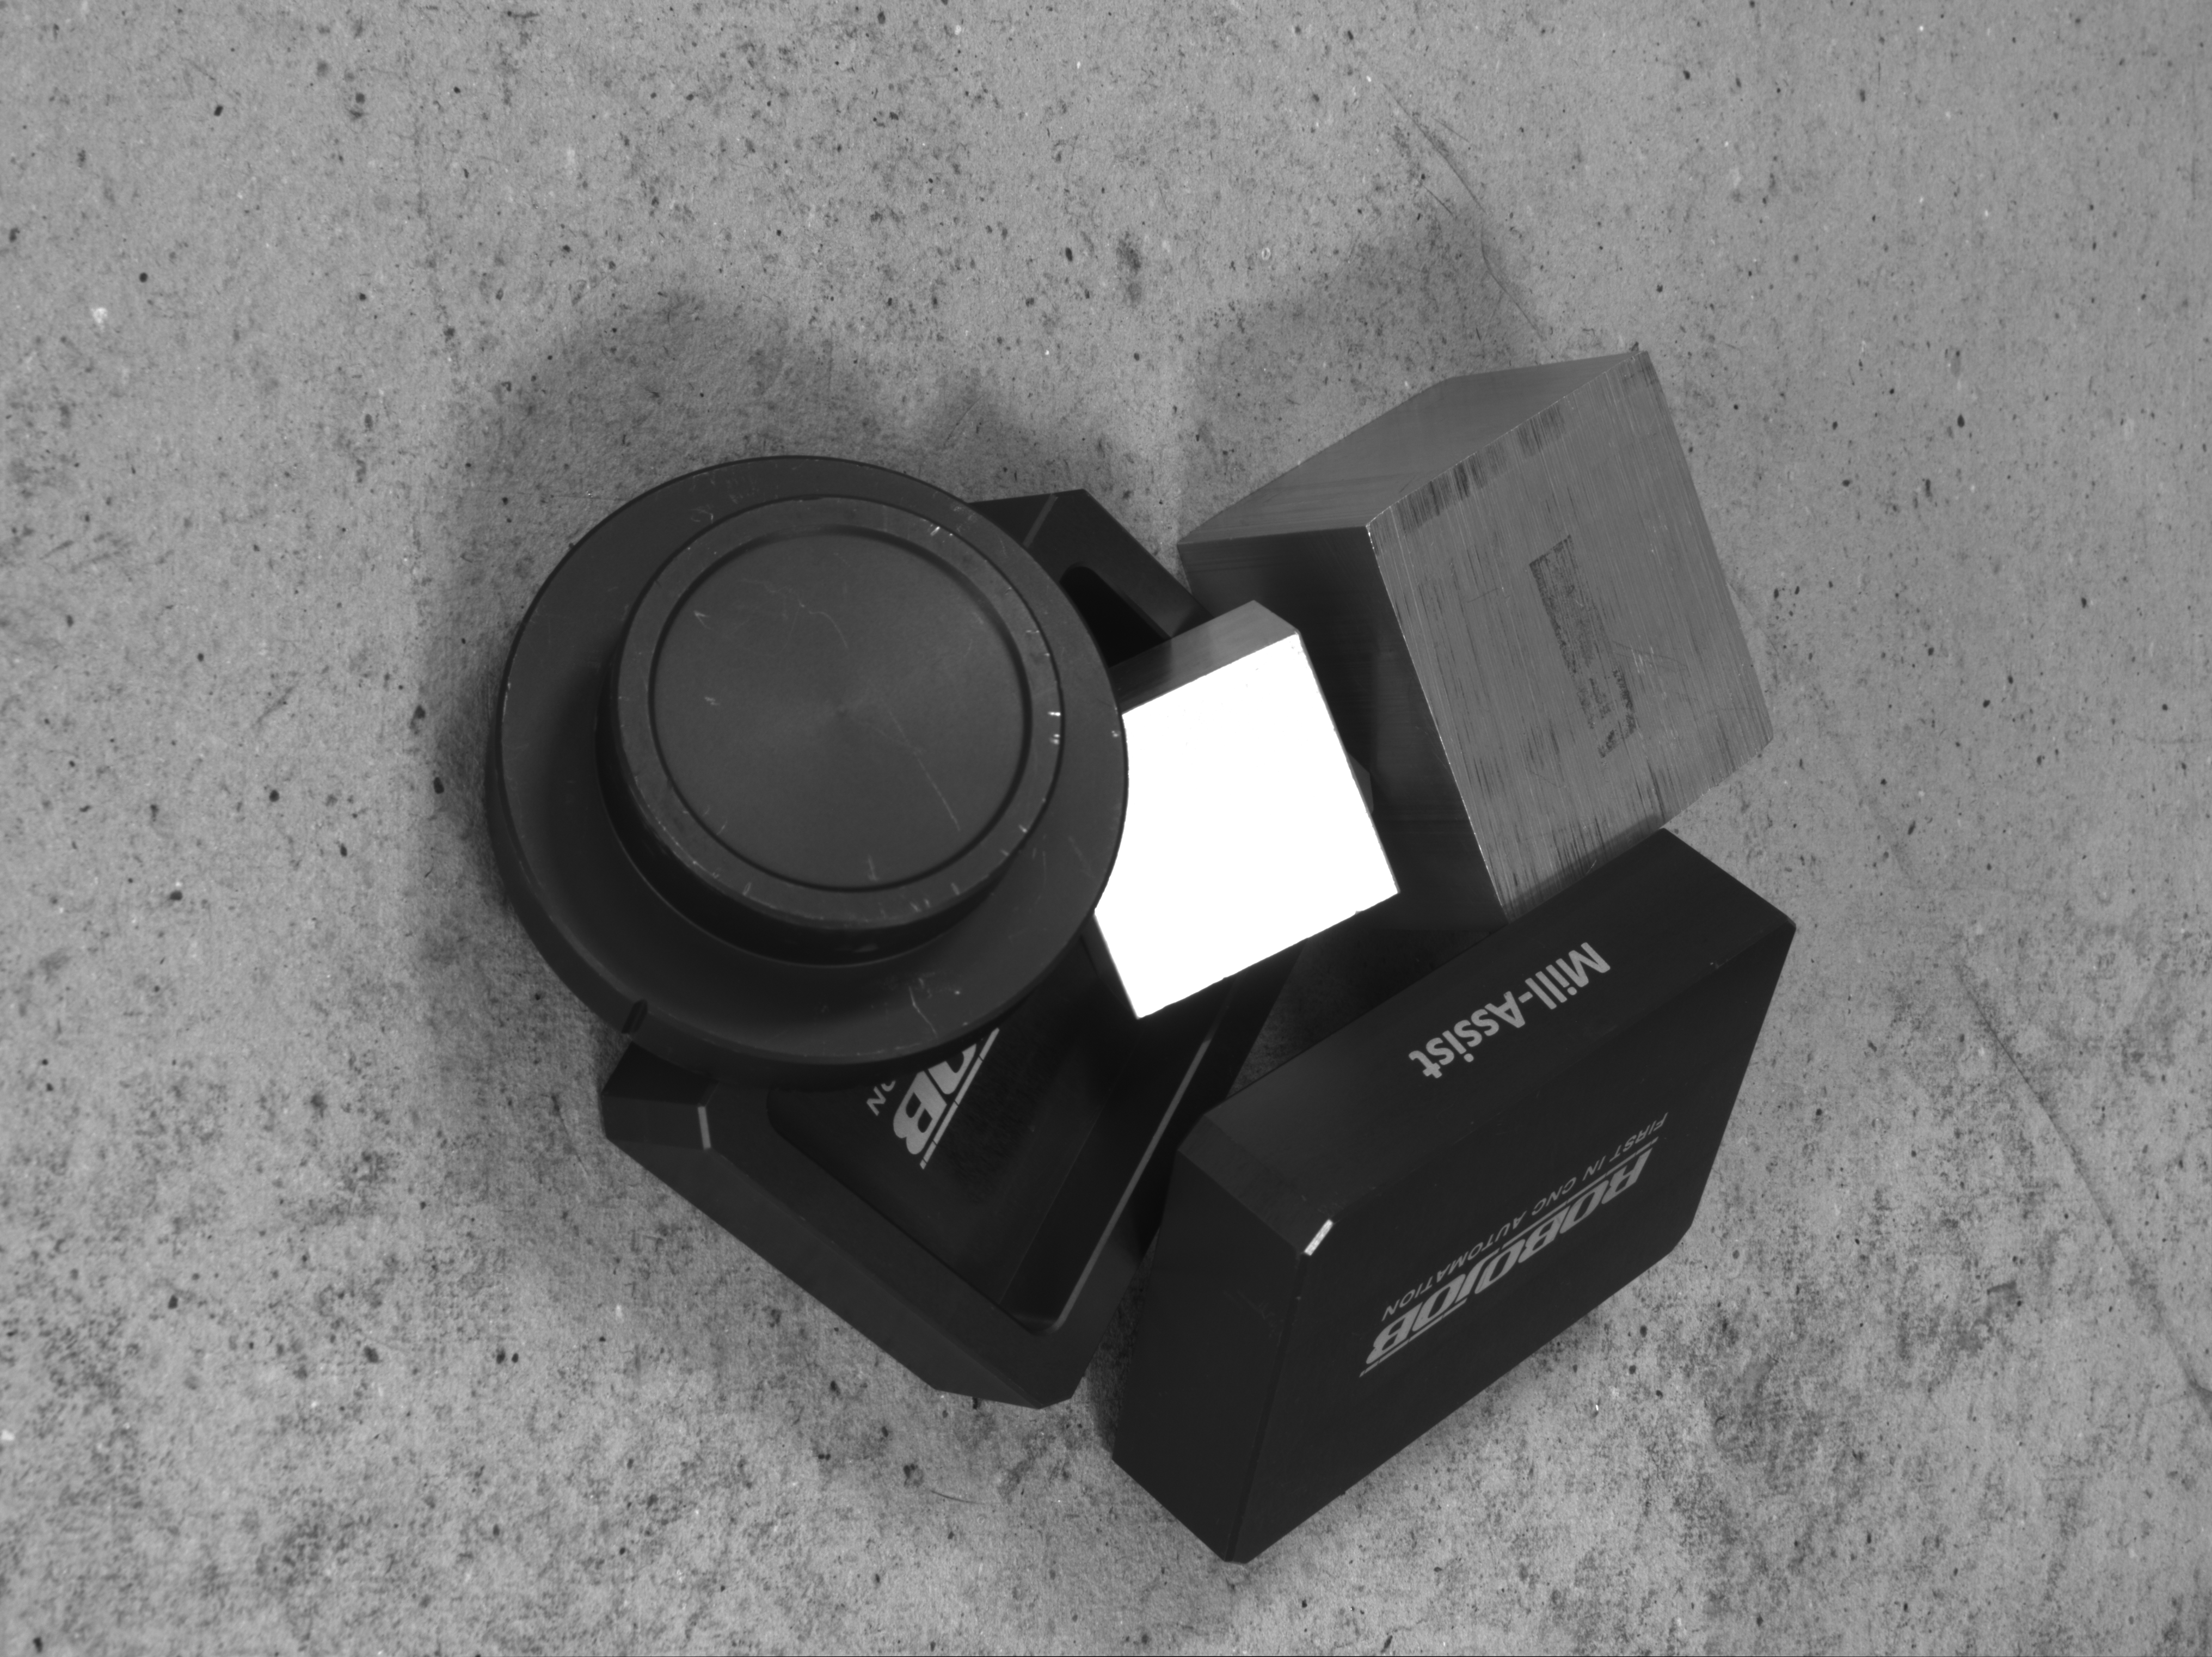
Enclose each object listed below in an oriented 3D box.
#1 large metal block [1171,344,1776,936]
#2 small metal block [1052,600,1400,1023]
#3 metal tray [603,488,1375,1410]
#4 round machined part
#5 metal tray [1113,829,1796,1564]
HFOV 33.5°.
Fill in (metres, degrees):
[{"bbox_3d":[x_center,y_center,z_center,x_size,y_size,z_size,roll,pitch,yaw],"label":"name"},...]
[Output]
[{"bbox_3d":[0.069,-0.035,0.678,0.080,0.050,0.080,-33,110,-35],"label":"large metal block"},{"bbox_3d":[0.015,-0.003,0.619,0.050,0.025,0.050,-26,110,-8],"label":"small metal block"},{"bbox_3d":[-0.016,0.020,0.619,0.090,0.030,0.130,42,65,-32],"label":"metal tray"},{"bbox_3d":[-0.044,-0.012,0.562,0.098,0.042,0.098,4,72,-13],"label":"round machined part"},{"bbox_3d":[0.063,0.064,0.655,0.130,0.030,0.090,-28,144,-36],"label":"metal tray"}]
